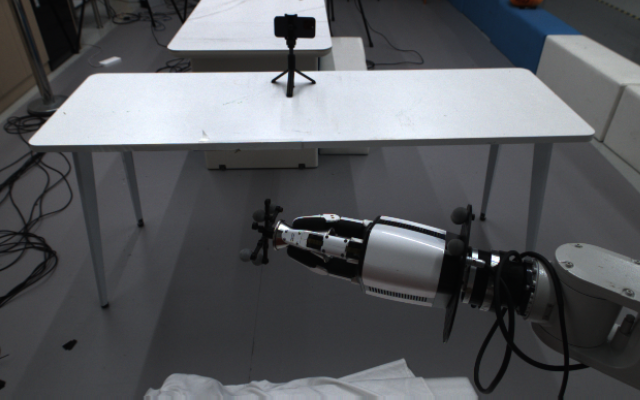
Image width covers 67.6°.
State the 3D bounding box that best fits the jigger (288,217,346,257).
[{"bbox_3d":[-0.014,0.046,0.598,0.071,0.043,0.043,10,35,16],"label":"jigger"}]
